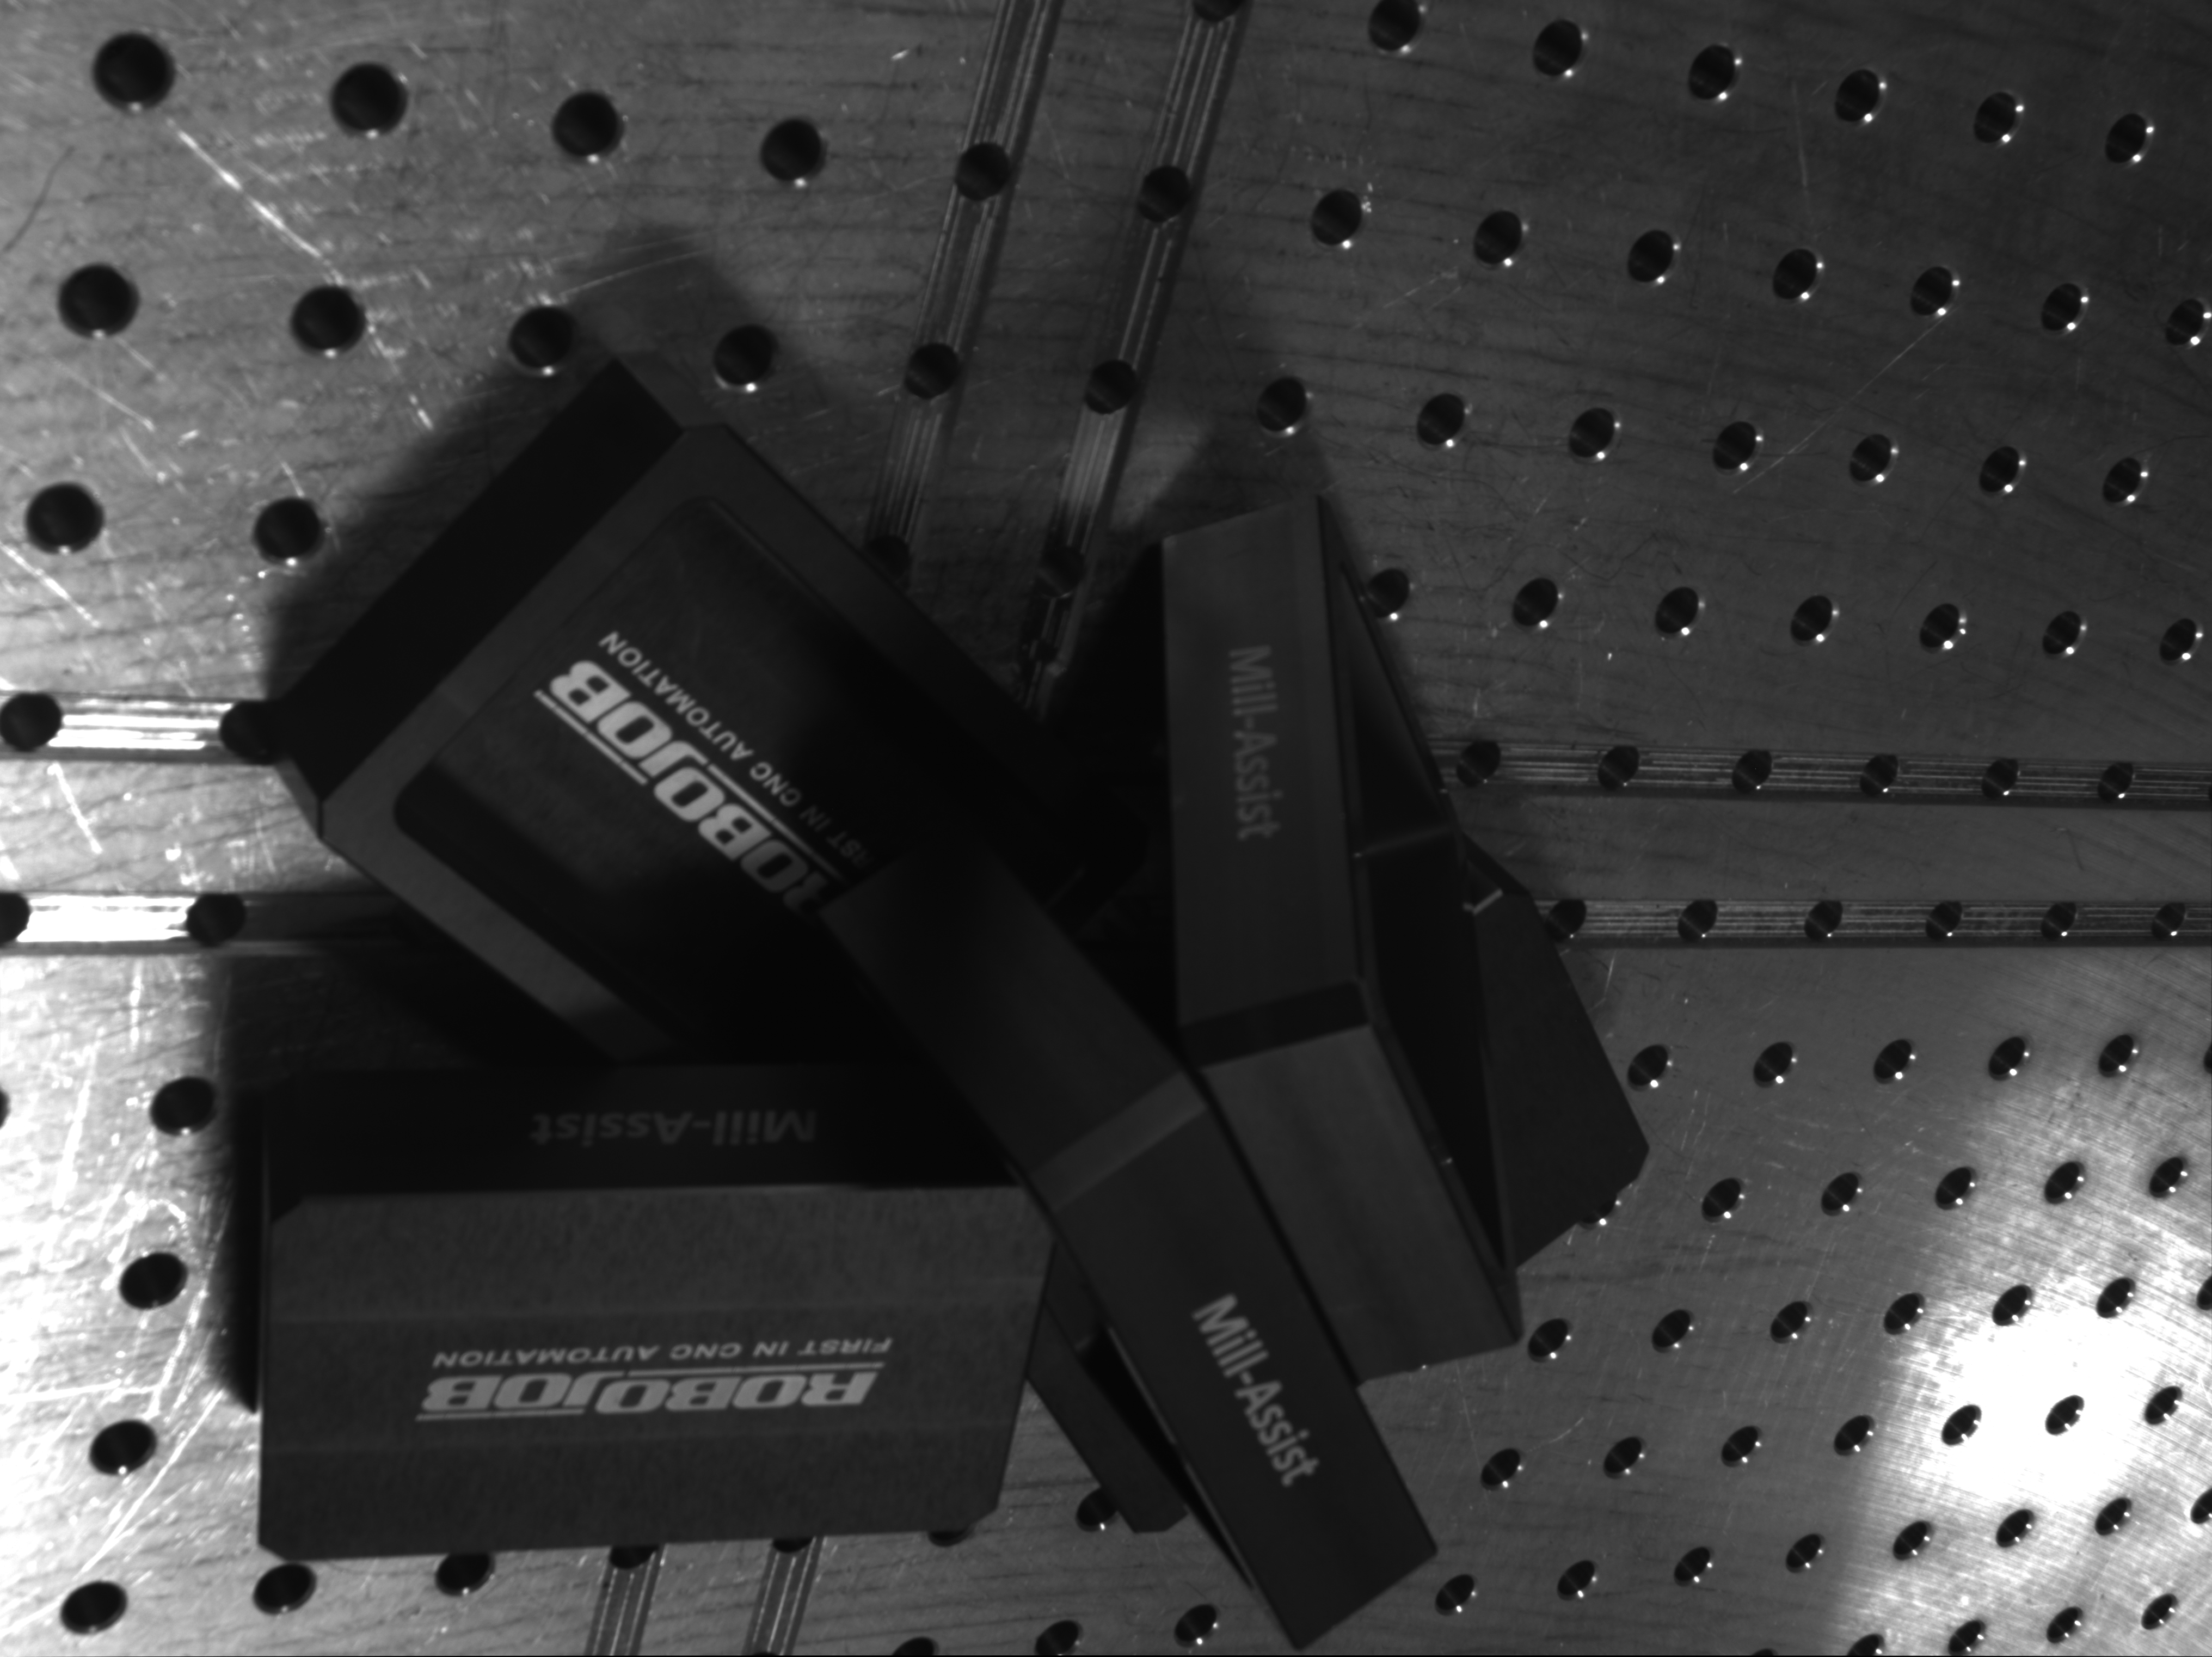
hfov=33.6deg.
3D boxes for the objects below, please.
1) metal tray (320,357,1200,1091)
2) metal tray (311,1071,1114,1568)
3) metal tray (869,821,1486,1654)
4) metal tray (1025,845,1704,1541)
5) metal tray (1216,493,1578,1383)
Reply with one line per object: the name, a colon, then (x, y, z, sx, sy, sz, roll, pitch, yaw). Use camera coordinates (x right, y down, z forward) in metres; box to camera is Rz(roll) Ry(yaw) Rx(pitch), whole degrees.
metal tray: (-0.055, -0.006, 0.615, 0.090, 0.030, 0.130, -46, 130, 2)
metal tray: (-0.070, 0.085, 0.631, 0.130, 0.030, 0.090, 0, 130, -14)
metal tray: (0.013, 0.070, 0.622, 0.030, 0.090, 0.130, -33, 130, -8)
metal tray: (0.047, 0.071, 0.720, 0.130, 0.030, 0.090, -36, 130, -6)
metal tray: (0.049, 0.017, 0.625, 0.030, 0.130, 0.090, -15, 131, 14)
